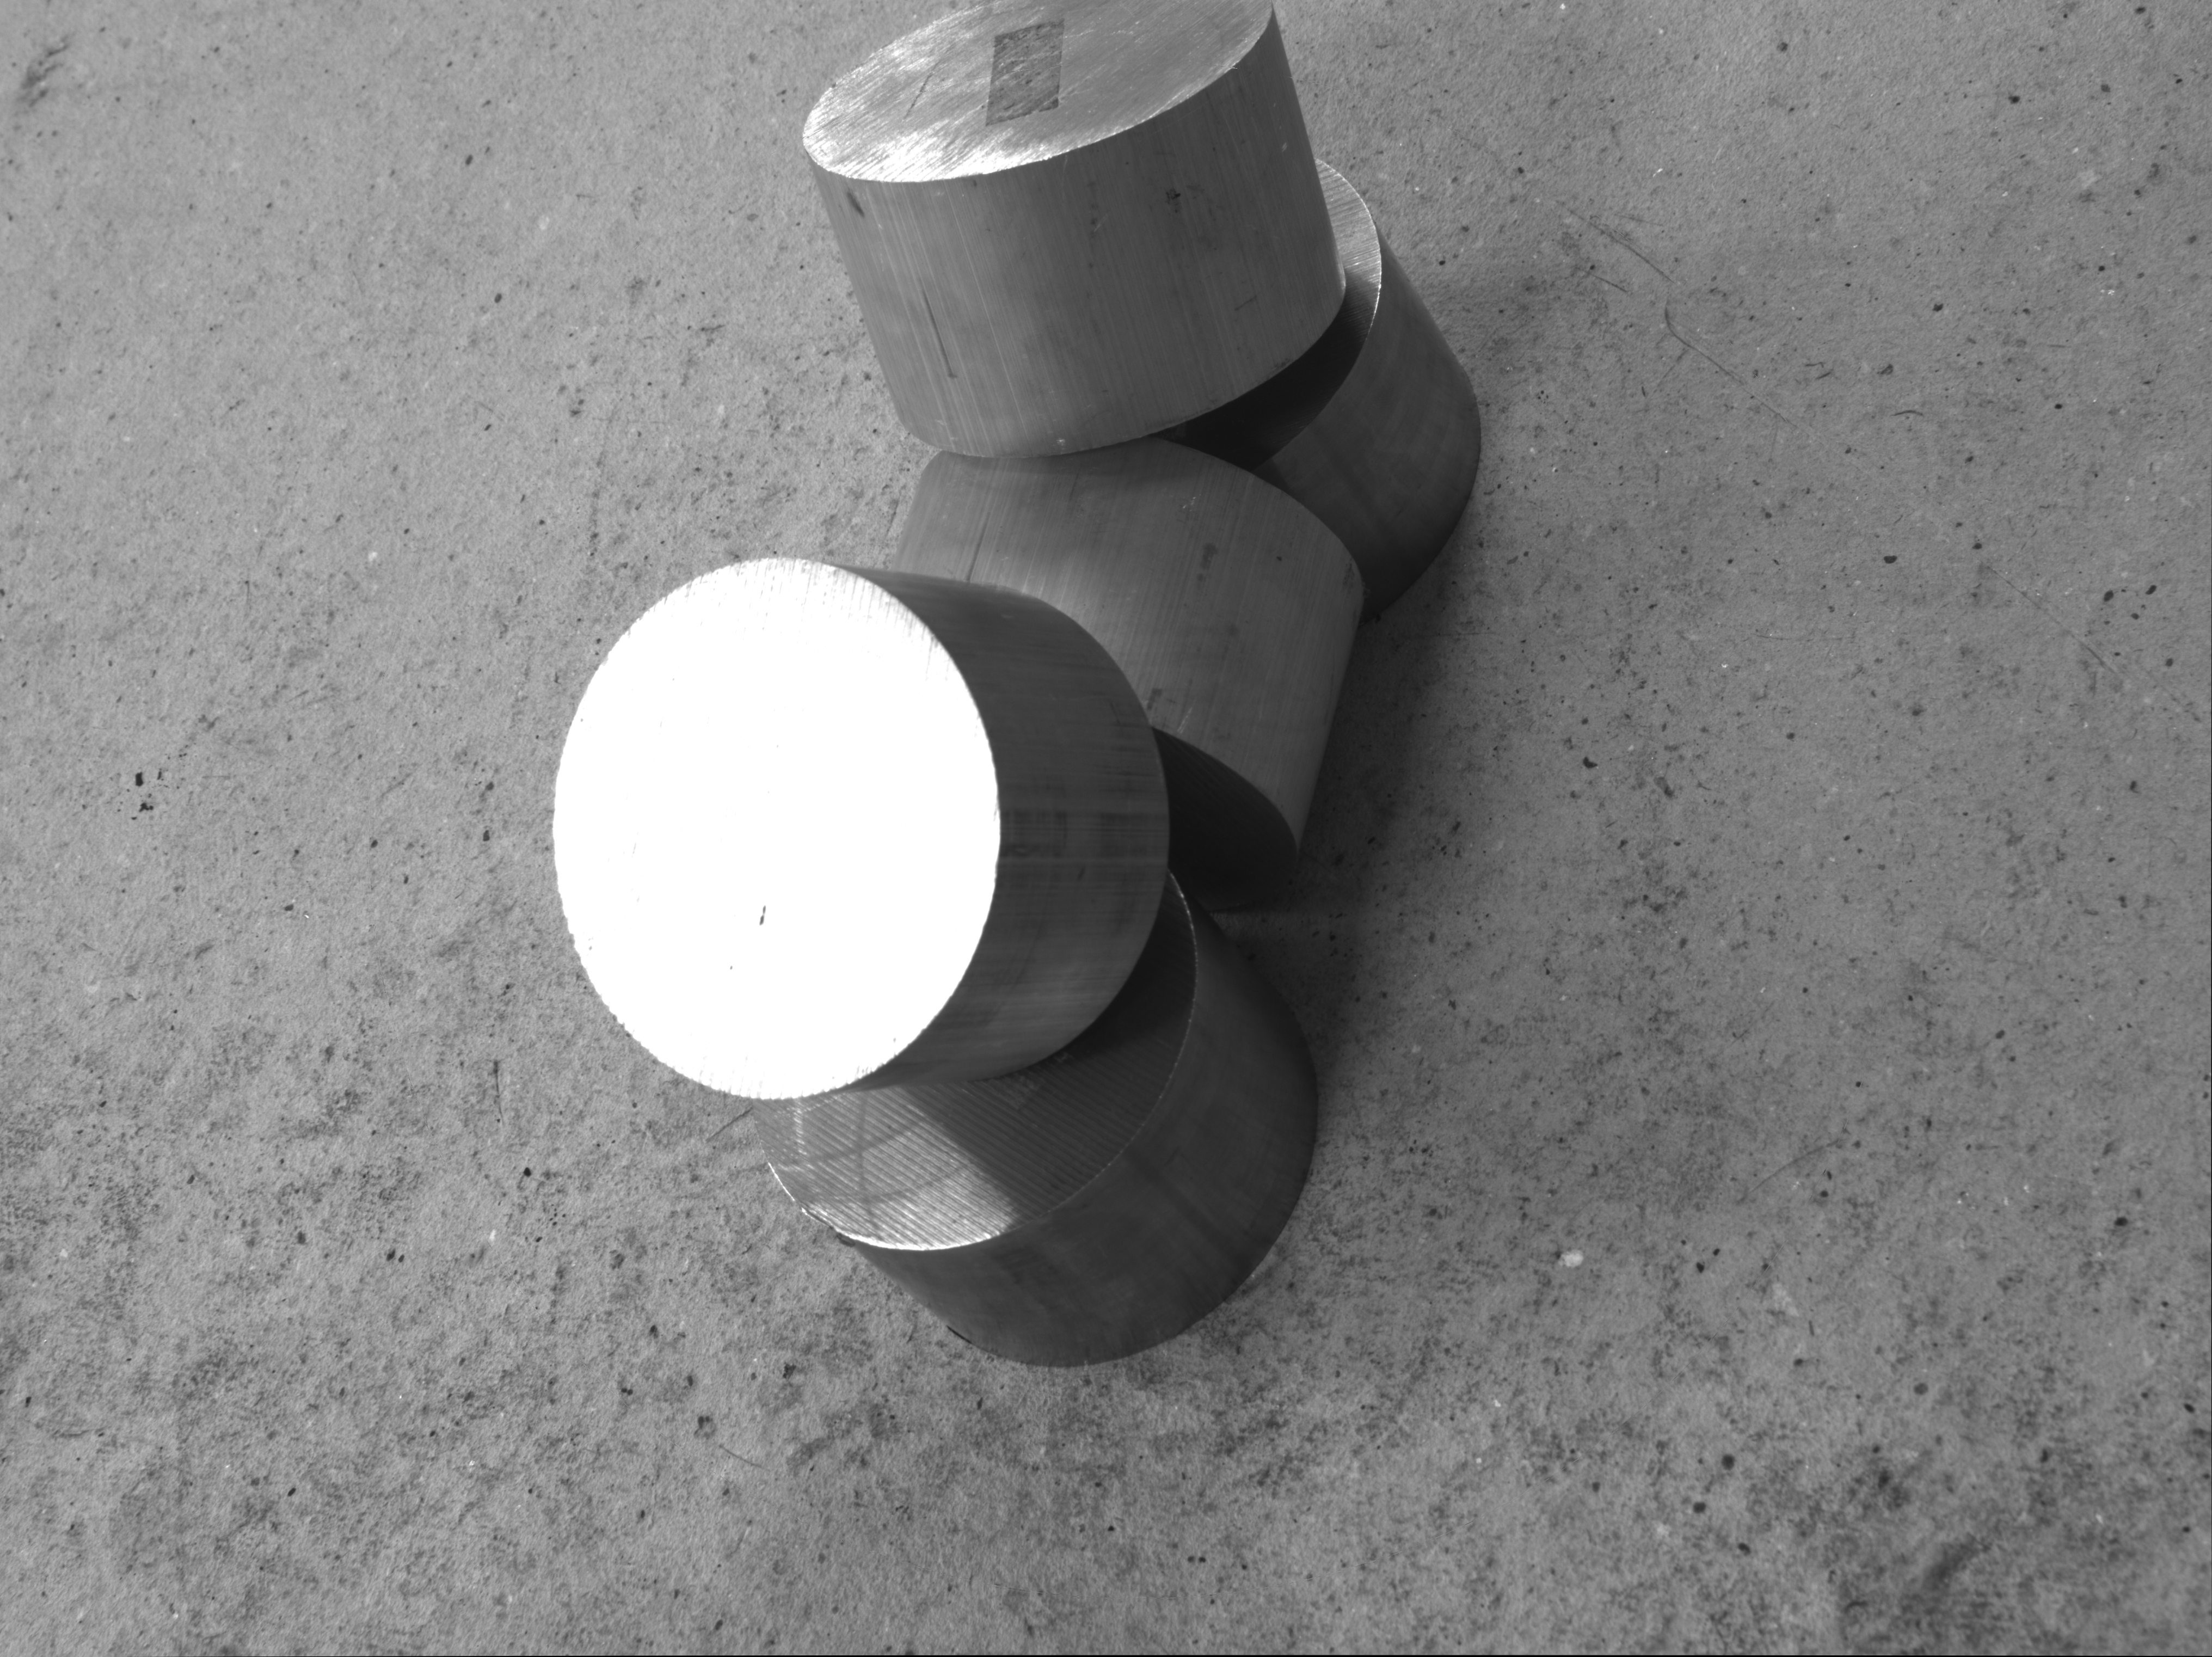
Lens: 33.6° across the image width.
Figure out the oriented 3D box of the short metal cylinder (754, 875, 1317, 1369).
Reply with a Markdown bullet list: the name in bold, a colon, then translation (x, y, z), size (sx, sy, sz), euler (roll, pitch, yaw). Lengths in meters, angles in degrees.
- **short metal cylinder**: translation (-0.011, 0.043, 0.609), size (0.080, 0.050, 0.080), euler (-14, 56, 21)

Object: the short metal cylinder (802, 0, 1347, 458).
- **short metal cylinder**: translation (-0.005, -0.104, 0.612), size (0.080, 0.050, 0.080), euler (-13, 32, 9)

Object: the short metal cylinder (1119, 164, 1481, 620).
- **short metal cylinder**: translation (0.022, -0.076, 0.665), size (0.080, 0.050, 0.080), euler (-14, 56, 21)

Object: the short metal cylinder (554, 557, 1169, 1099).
- **short metal cylinder**: translation (-0.037, 0.000, 0.563), size (0.080, 0.050, 0.080), euler (0, 89, 30)

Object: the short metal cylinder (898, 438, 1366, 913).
- **short metal cylinder**: translation (0.000, -0.026, 0.626), size (0.080, 0.080, 0.050), euler (1, 62, 29)
